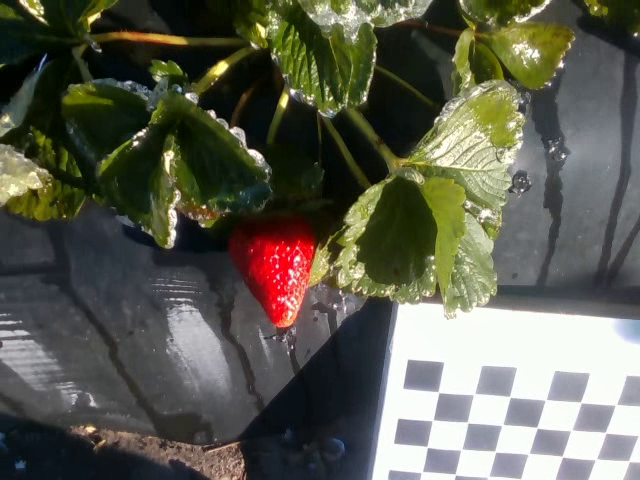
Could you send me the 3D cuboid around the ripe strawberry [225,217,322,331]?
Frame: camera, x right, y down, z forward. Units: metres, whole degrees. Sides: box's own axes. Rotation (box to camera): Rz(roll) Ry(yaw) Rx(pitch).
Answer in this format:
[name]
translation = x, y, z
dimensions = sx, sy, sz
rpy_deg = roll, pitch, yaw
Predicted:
[ripe strawberry]
translation = -0.020, 0.015, 0.265
dimensions = 0.041, 0.053, 0.047
rpy_deg = -2, -12, 1
